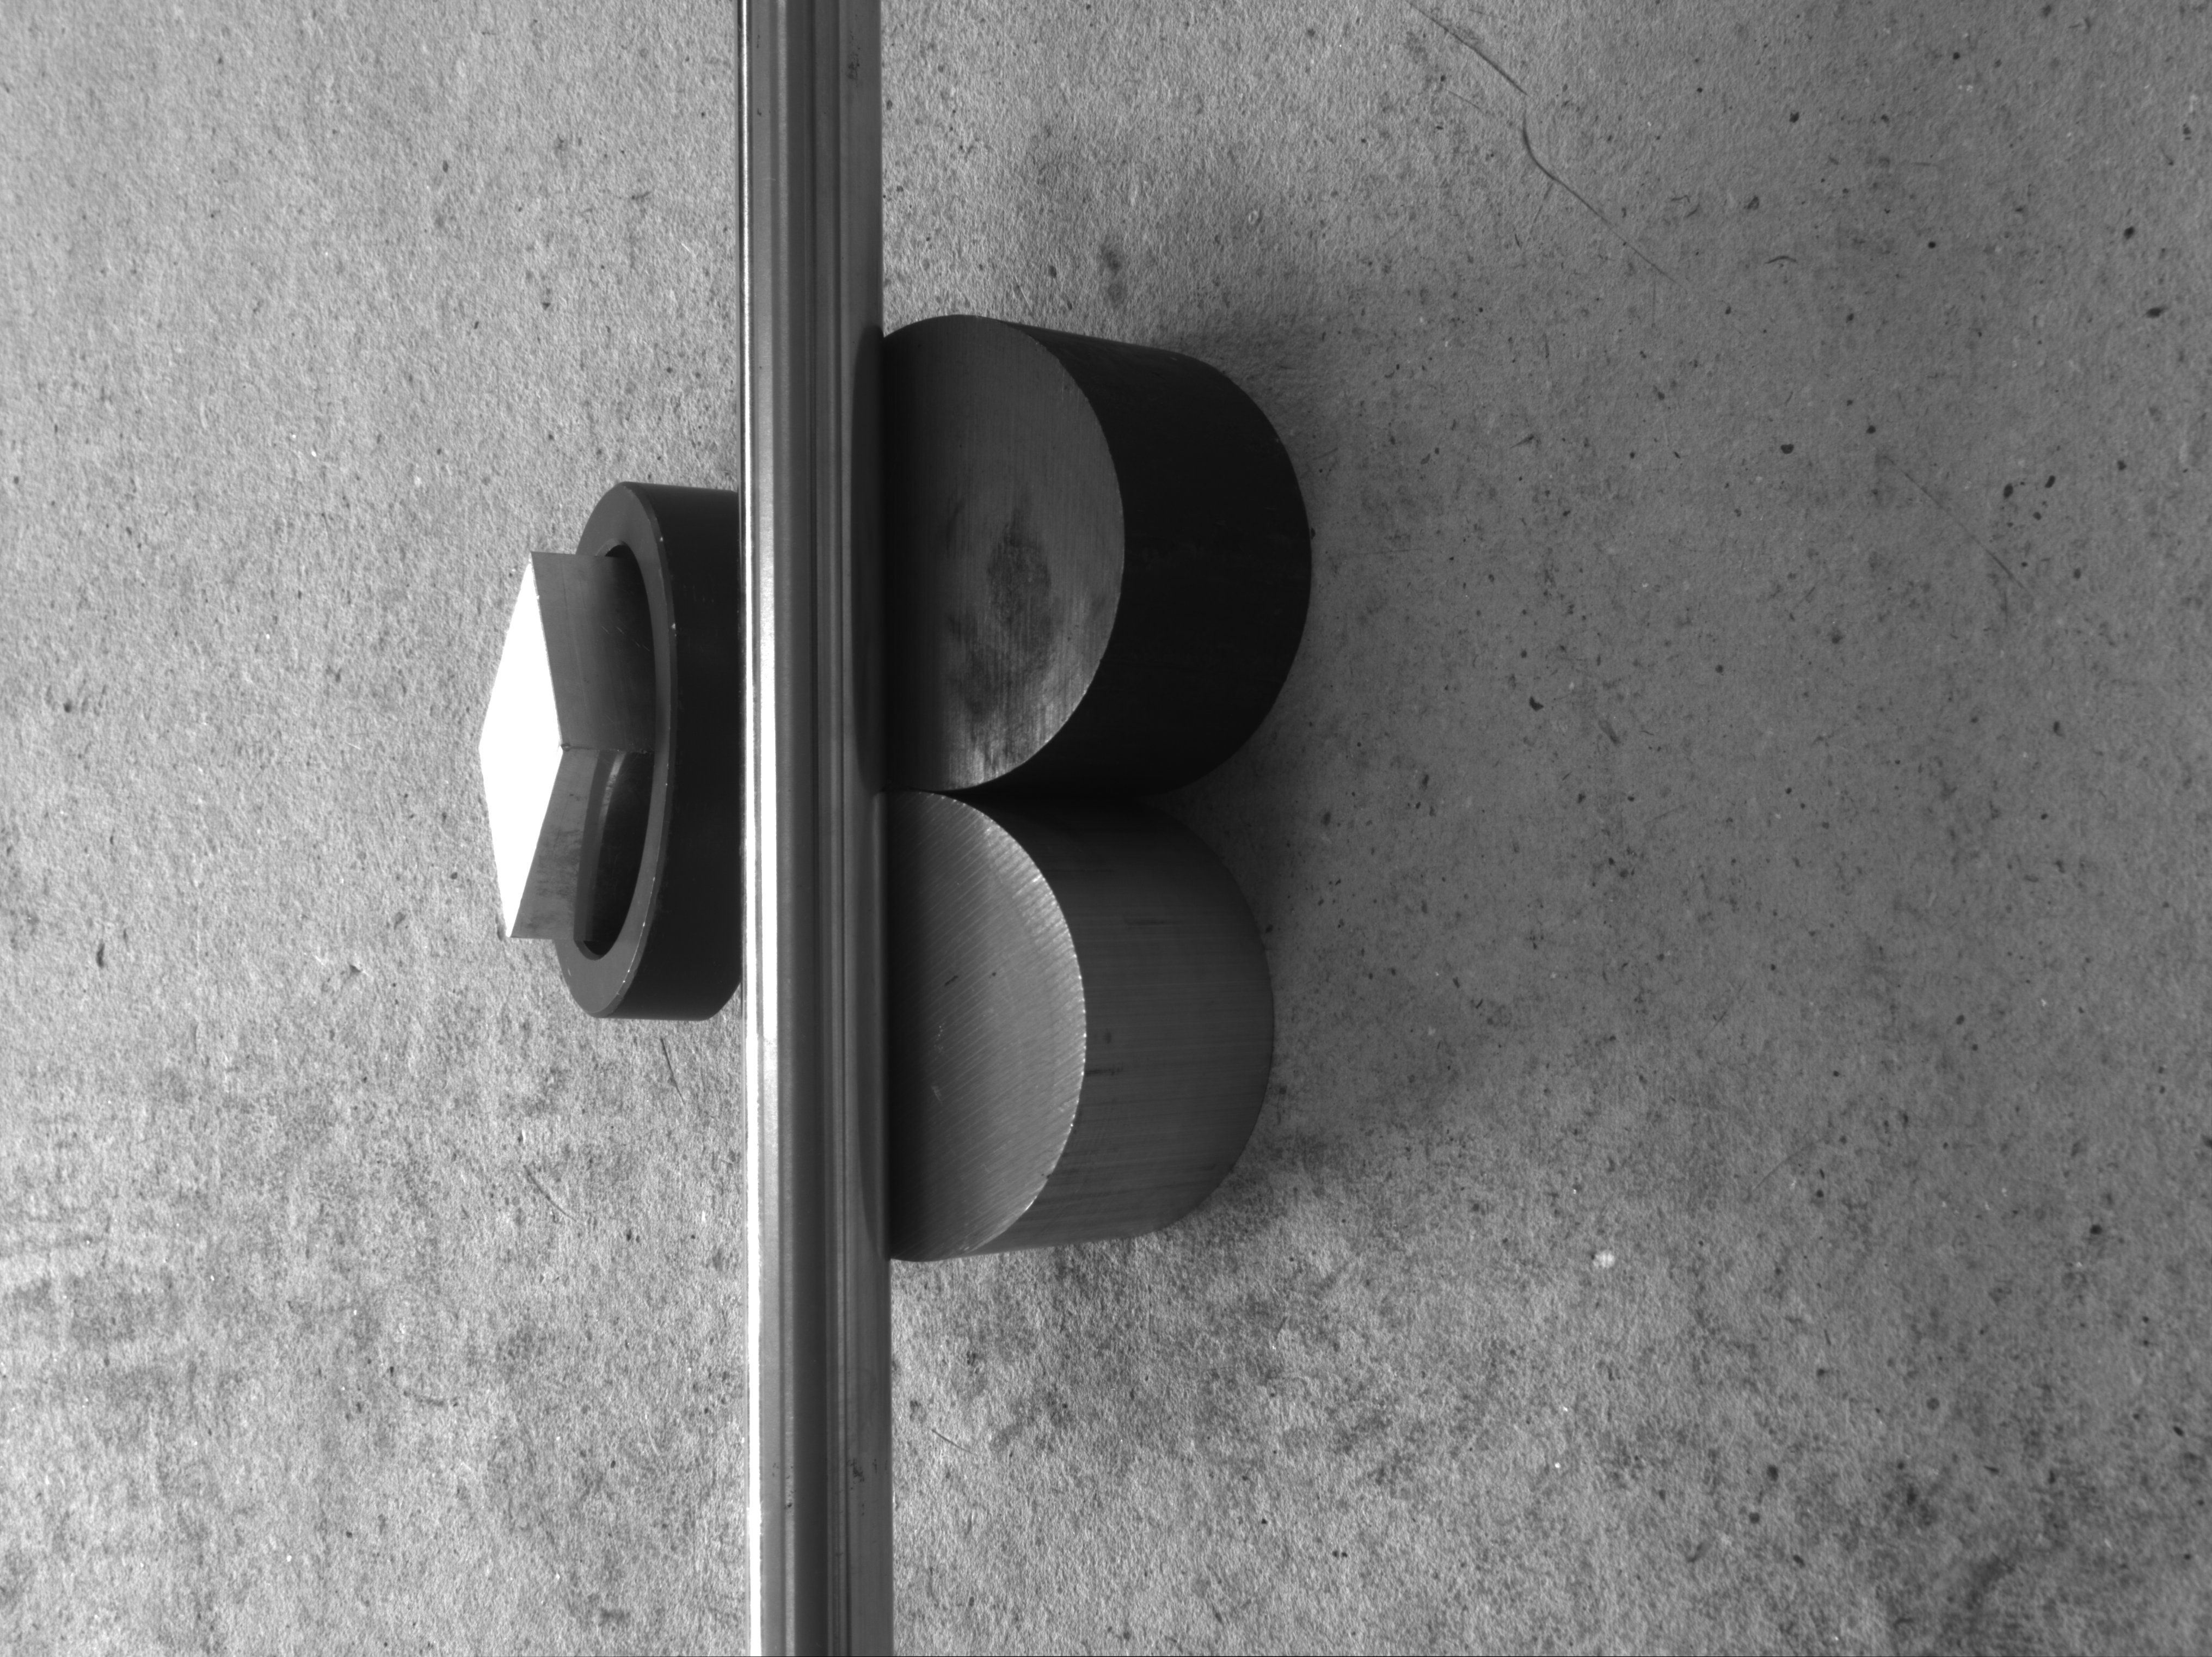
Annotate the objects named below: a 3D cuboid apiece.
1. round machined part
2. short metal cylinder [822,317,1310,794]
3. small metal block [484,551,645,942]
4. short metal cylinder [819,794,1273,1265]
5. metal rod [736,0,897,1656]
[{"bbox_3d":[-0.072,-0.013,0.679,0.098,0.042,0.098,-177,90,-69],"label":"round machined part"},{"bbox_3d":[-0.012,-0.046,0.640,0.080,0.050,0.080,0,90,40],"label":"short metal cylinder"},{"bbox_3d":[-0.095,-0.015,0.673,0.050,0.025,0.050,113,151,-42],"label":"small metal block"},{"bbox_3d":[-0.018,0.035,0.644,0.080,0.050,0.080,-1,88,40],"label":"short metal cylinder"},{"bbox_3d":[-0.049,-0.010,0.622,0.025,0.025,0.300,-1,89,40],"label":"metal rod"}]
